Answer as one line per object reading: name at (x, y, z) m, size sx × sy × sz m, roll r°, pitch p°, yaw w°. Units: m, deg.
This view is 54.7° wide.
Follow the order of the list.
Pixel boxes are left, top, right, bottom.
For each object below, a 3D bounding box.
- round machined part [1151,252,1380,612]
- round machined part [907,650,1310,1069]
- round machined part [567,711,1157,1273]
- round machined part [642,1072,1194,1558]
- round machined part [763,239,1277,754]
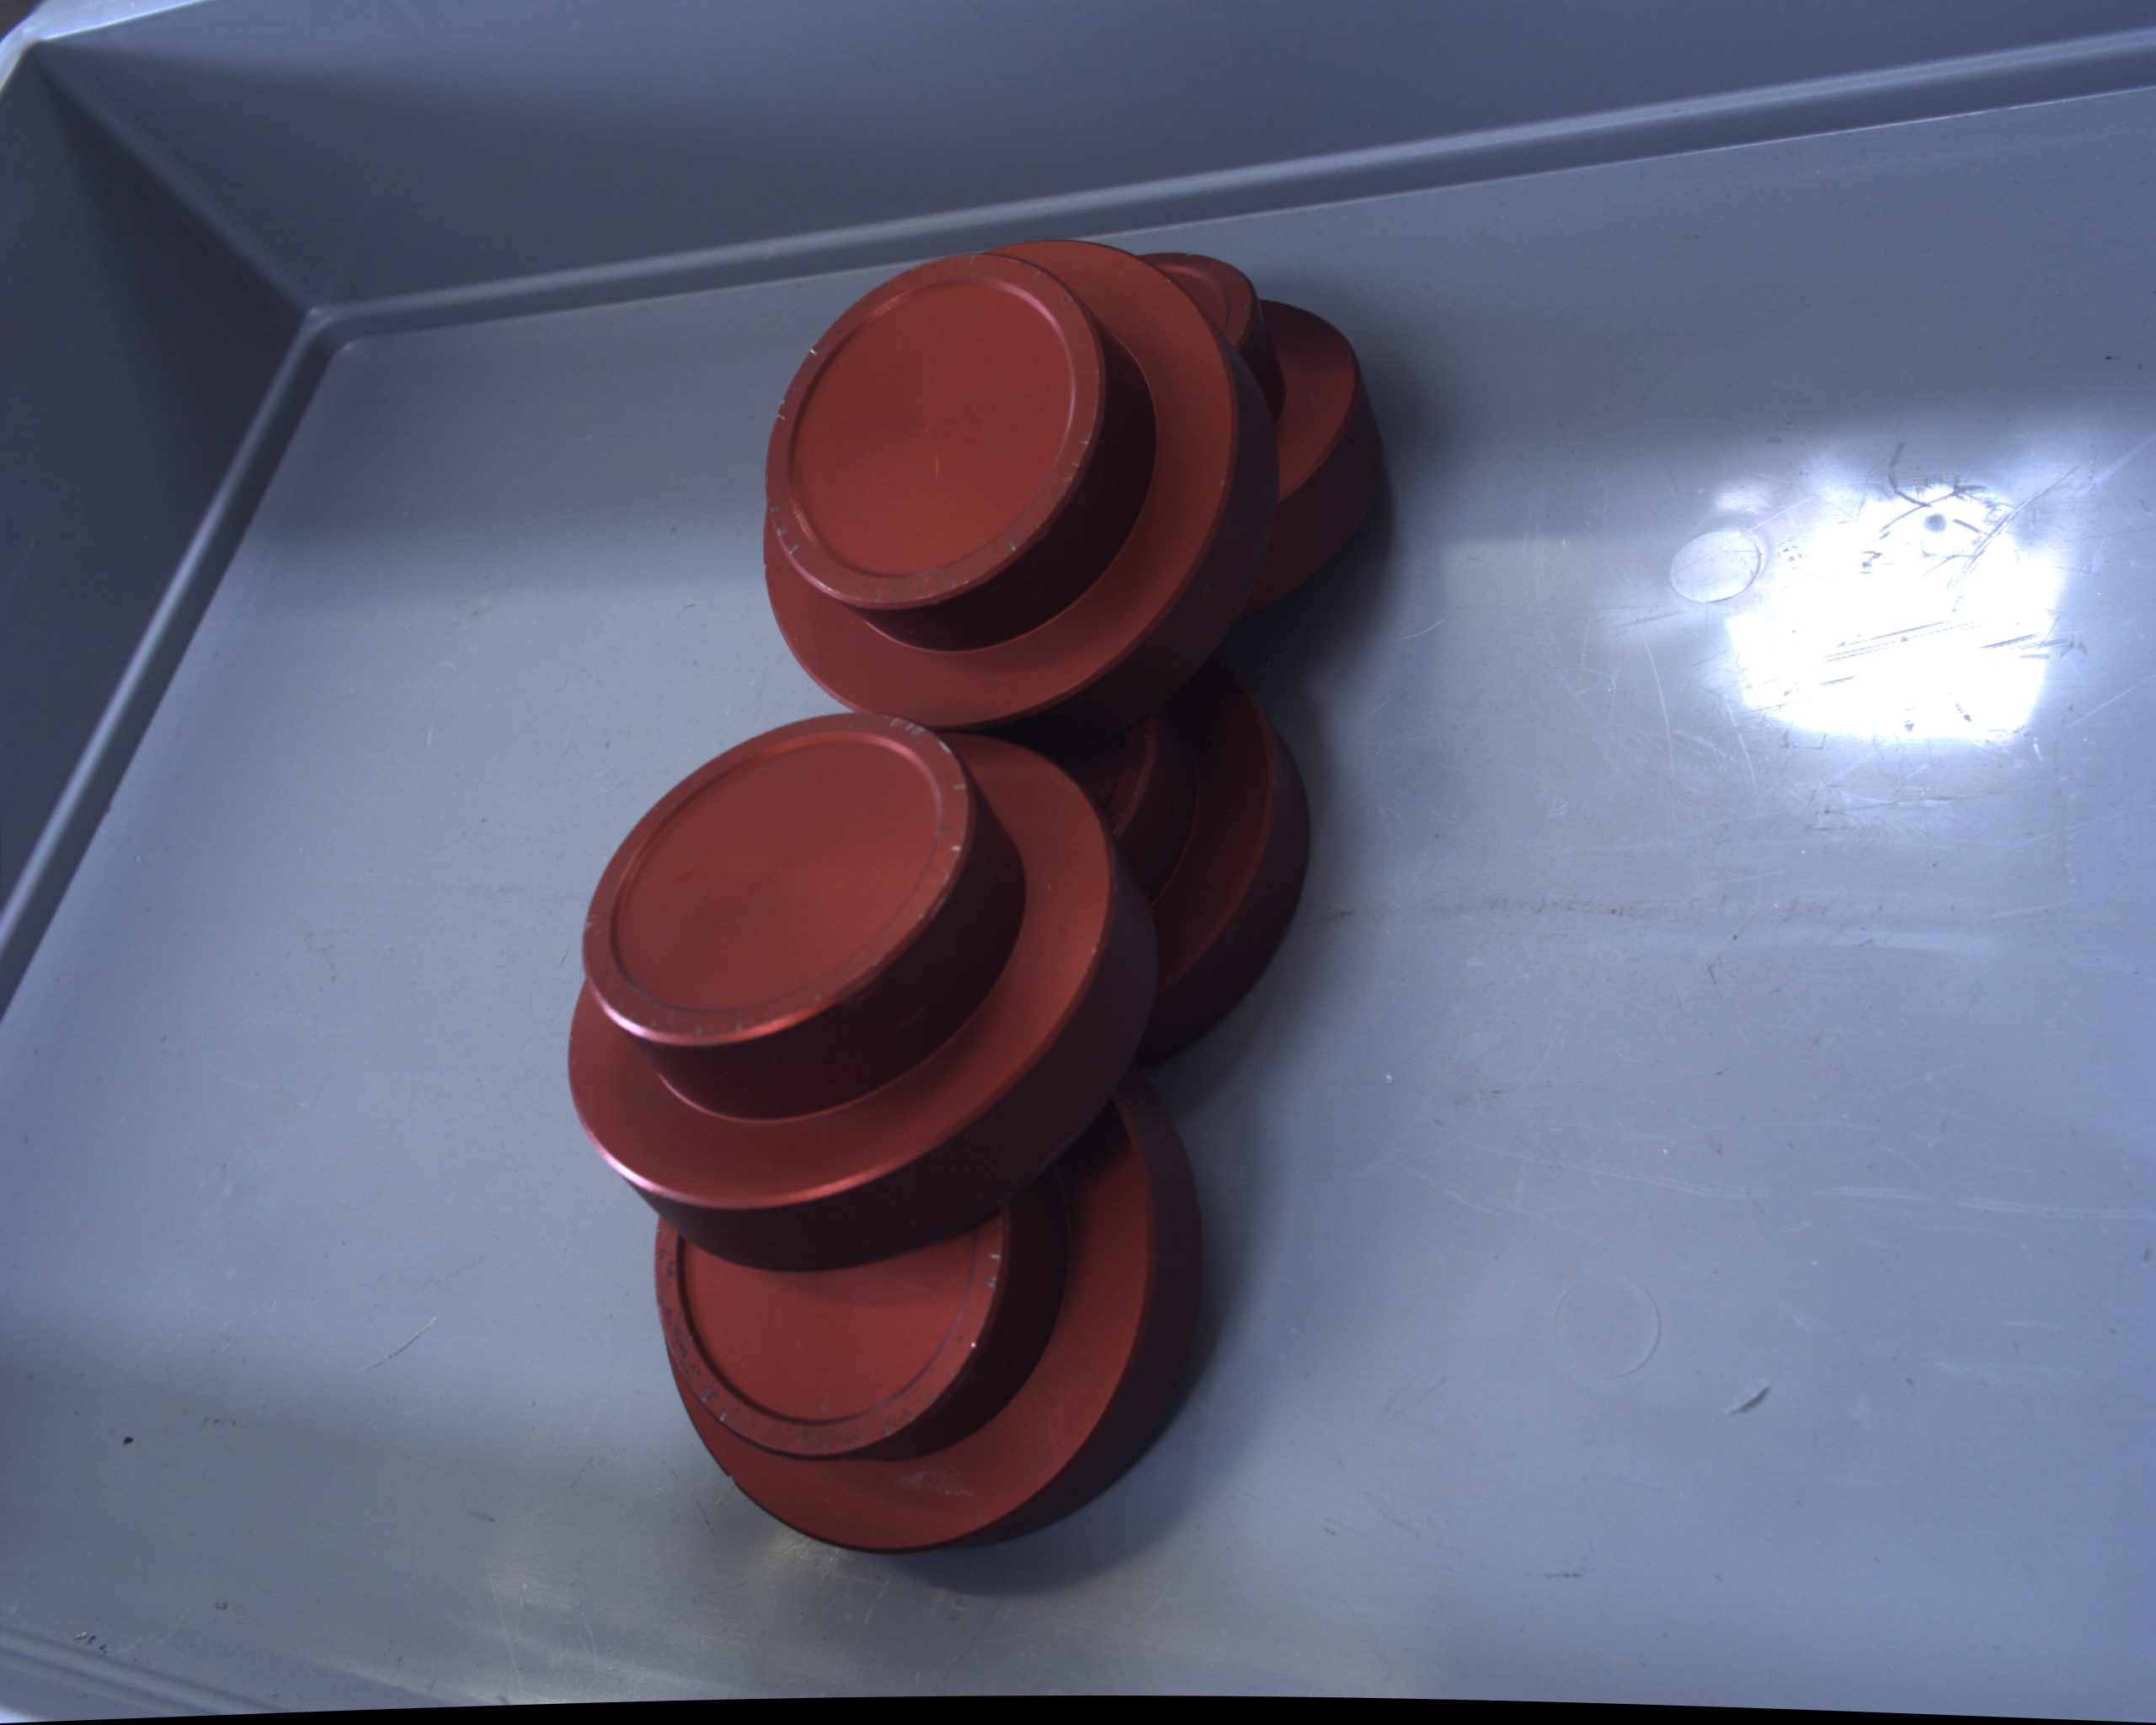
round machined part at (0.010, -0.089, 0.429) m, size 0.098 × 0.042 × 0.098 m, roll -14°, pitch 40°, yaw 13°
round machined part at (-0.009, -0.008, 0.402) m, size 0.098 × 0.042 × 0.098 m, roll -13°, pitch 55°, yaw 20°
round machined part at (-0.040, 0.014, 0.340) m, size 0.098 × 0.042 × 0.098 m, roll -14°, pitch 45°, yaw 15°
round machined part at (-0.034, 0.066, 0.352) m, size 0.098 × 0.042 × 0.098 m, roll -8°, pitch 73°, yaw 26°
round machined part at (-0.017, -0.070, 0.379) m, size 0.098 × 0.042 × 0.098 m, roll -9°, pitch 70°, yaw 26°
